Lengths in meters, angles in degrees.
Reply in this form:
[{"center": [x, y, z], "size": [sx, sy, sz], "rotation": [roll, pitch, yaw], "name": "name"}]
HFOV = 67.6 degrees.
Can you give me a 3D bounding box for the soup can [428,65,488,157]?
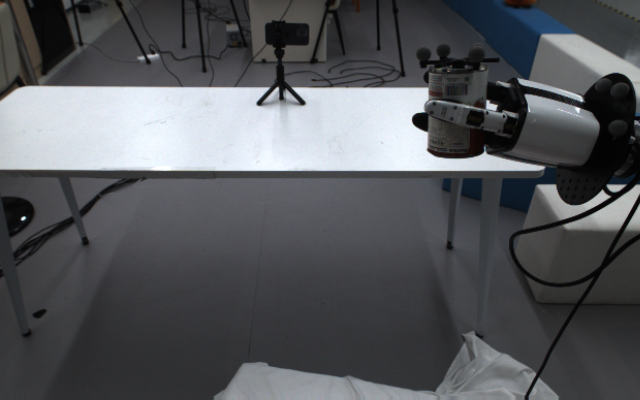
[{"center": [0.165, -0.108, 0.579], "size": [0.067, 0.101, 0.067], "rotation": [-4, 21, 2], "name": "soup can"}]
